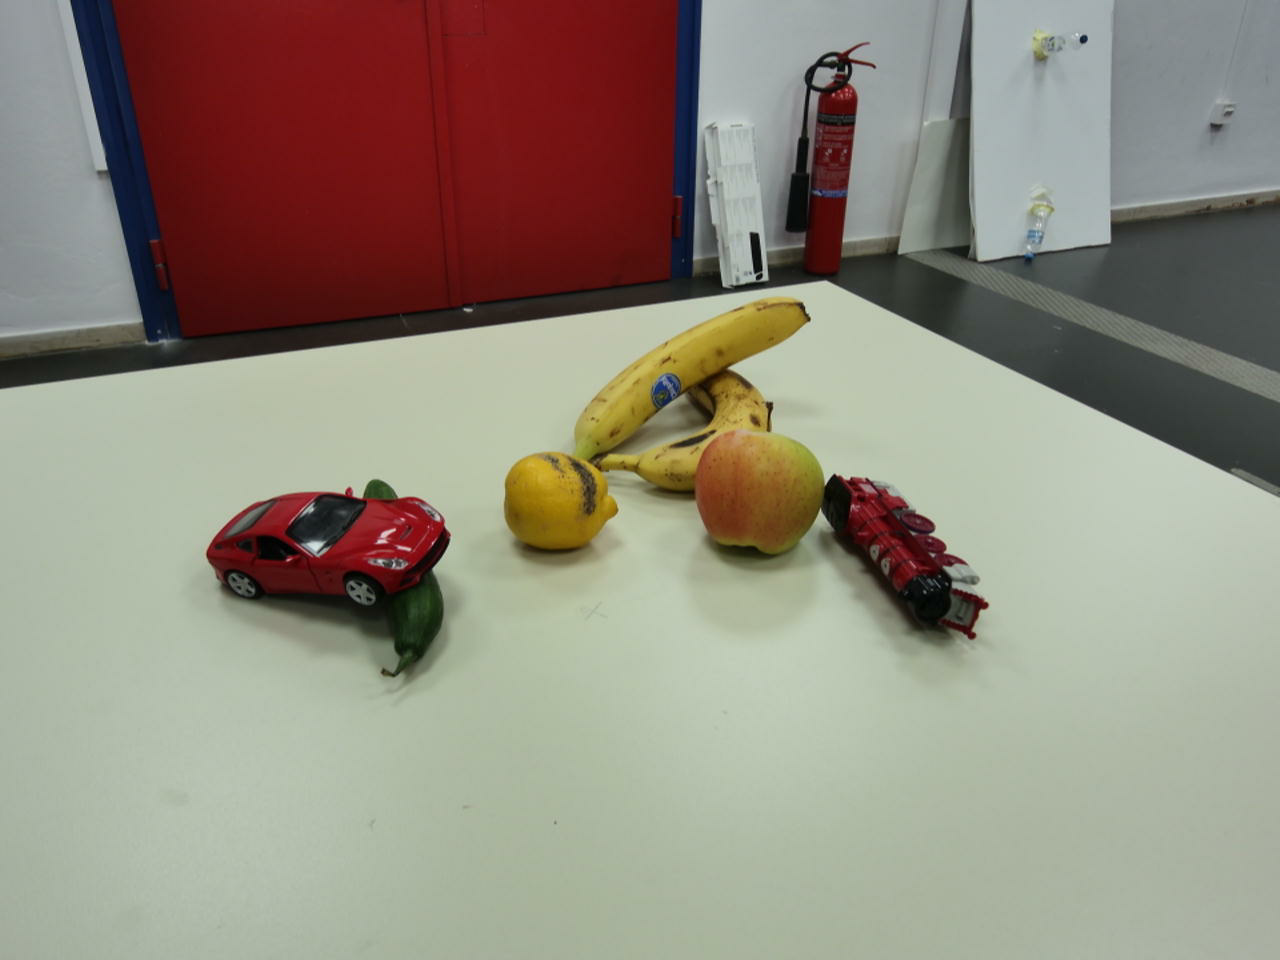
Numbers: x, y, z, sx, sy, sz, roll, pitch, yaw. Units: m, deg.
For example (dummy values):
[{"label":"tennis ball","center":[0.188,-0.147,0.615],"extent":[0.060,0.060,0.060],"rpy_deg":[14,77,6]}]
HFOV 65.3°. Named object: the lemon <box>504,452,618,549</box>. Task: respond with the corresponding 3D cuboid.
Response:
[{"label":"lemon","center":[-0.049,0.012,0.577],"extent":[0.061,0.056,0.058],"rpy_deg":[-16,30,-29]}]
